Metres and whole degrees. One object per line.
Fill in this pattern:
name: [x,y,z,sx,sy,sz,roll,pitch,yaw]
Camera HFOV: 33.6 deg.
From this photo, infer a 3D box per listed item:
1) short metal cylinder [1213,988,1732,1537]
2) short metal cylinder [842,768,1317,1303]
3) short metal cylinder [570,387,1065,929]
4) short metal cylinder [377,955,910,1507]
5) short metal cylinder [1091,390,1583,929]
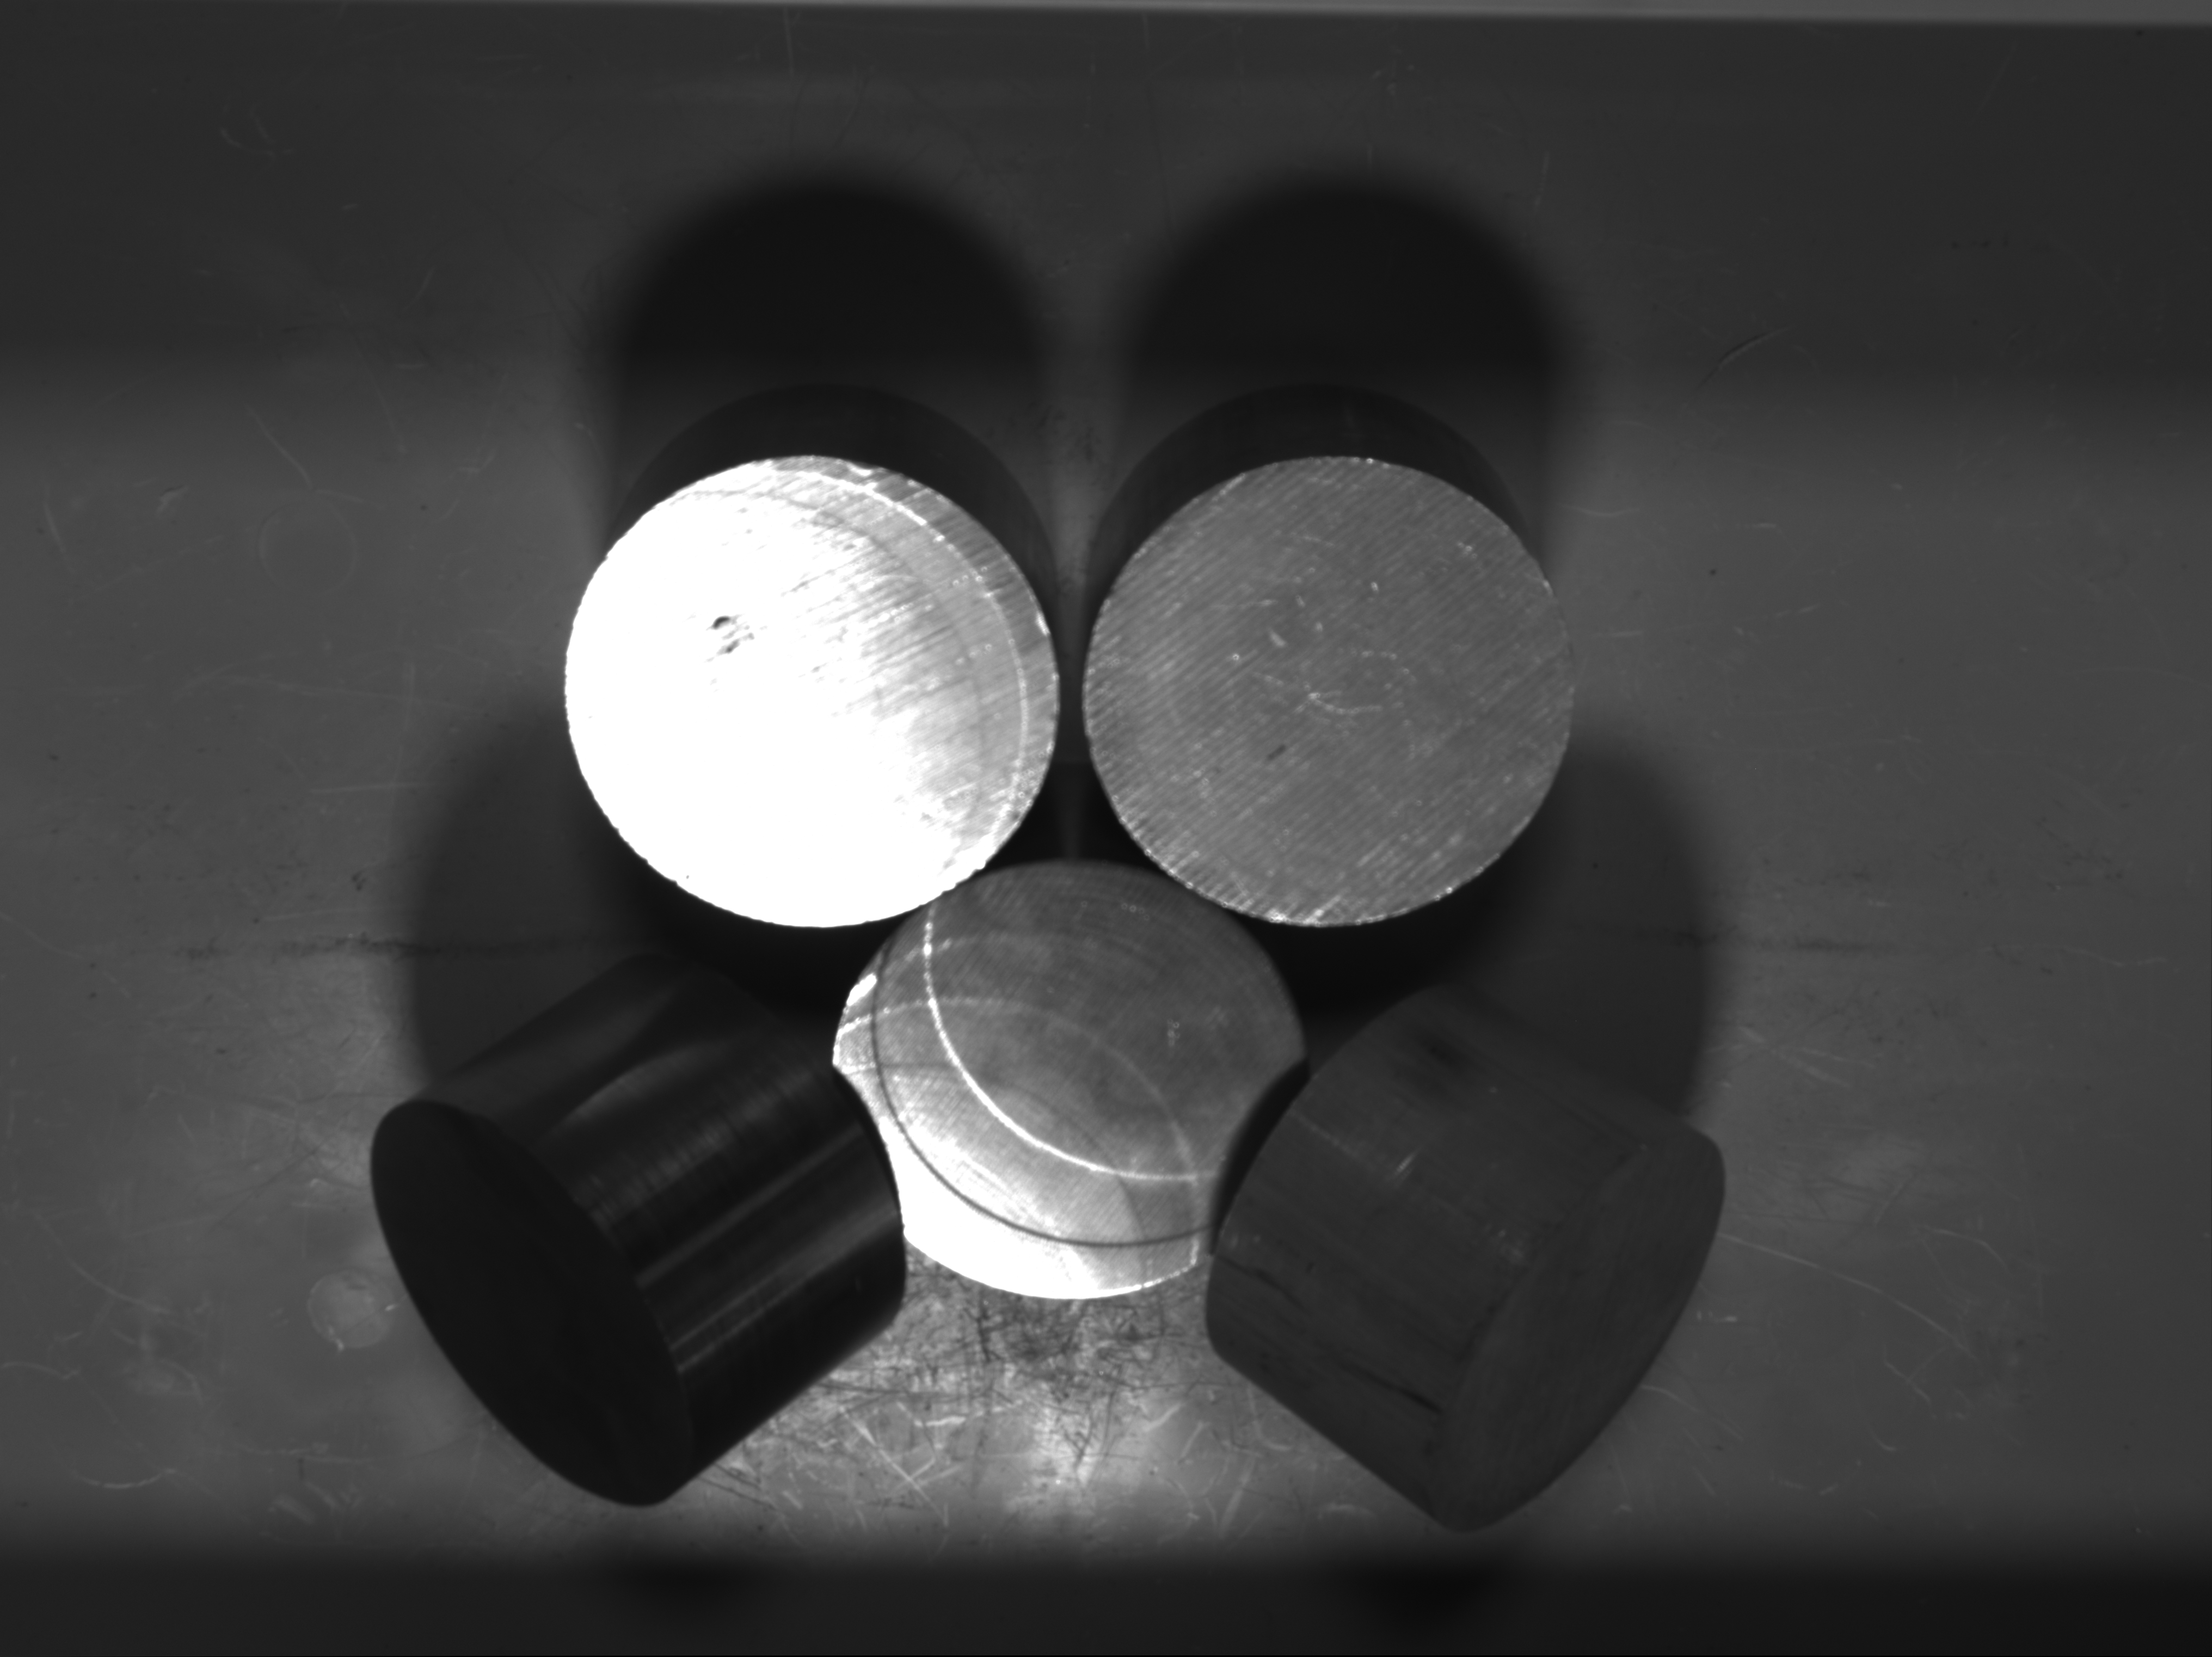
short metal cylinder: [0.064,0.075,0.634,0.050,0.080,0.080,33,111,30]
short metal cylinder: [-0.005,0.035,0.640,0.080,0.050,0.080,0,110,-1]
short metal cylinder: [-0.047,-0.029,0.616,0.080,0.050,0.080,0,110,-1]
short metal cylinder: [-0.080,0.069,0.631,0.050,0.080,0.080,-35,113,-35]
short metal cylinder: [0.037,-0.029,0.619,0.080,0.050,0.080,0,110,-1]
